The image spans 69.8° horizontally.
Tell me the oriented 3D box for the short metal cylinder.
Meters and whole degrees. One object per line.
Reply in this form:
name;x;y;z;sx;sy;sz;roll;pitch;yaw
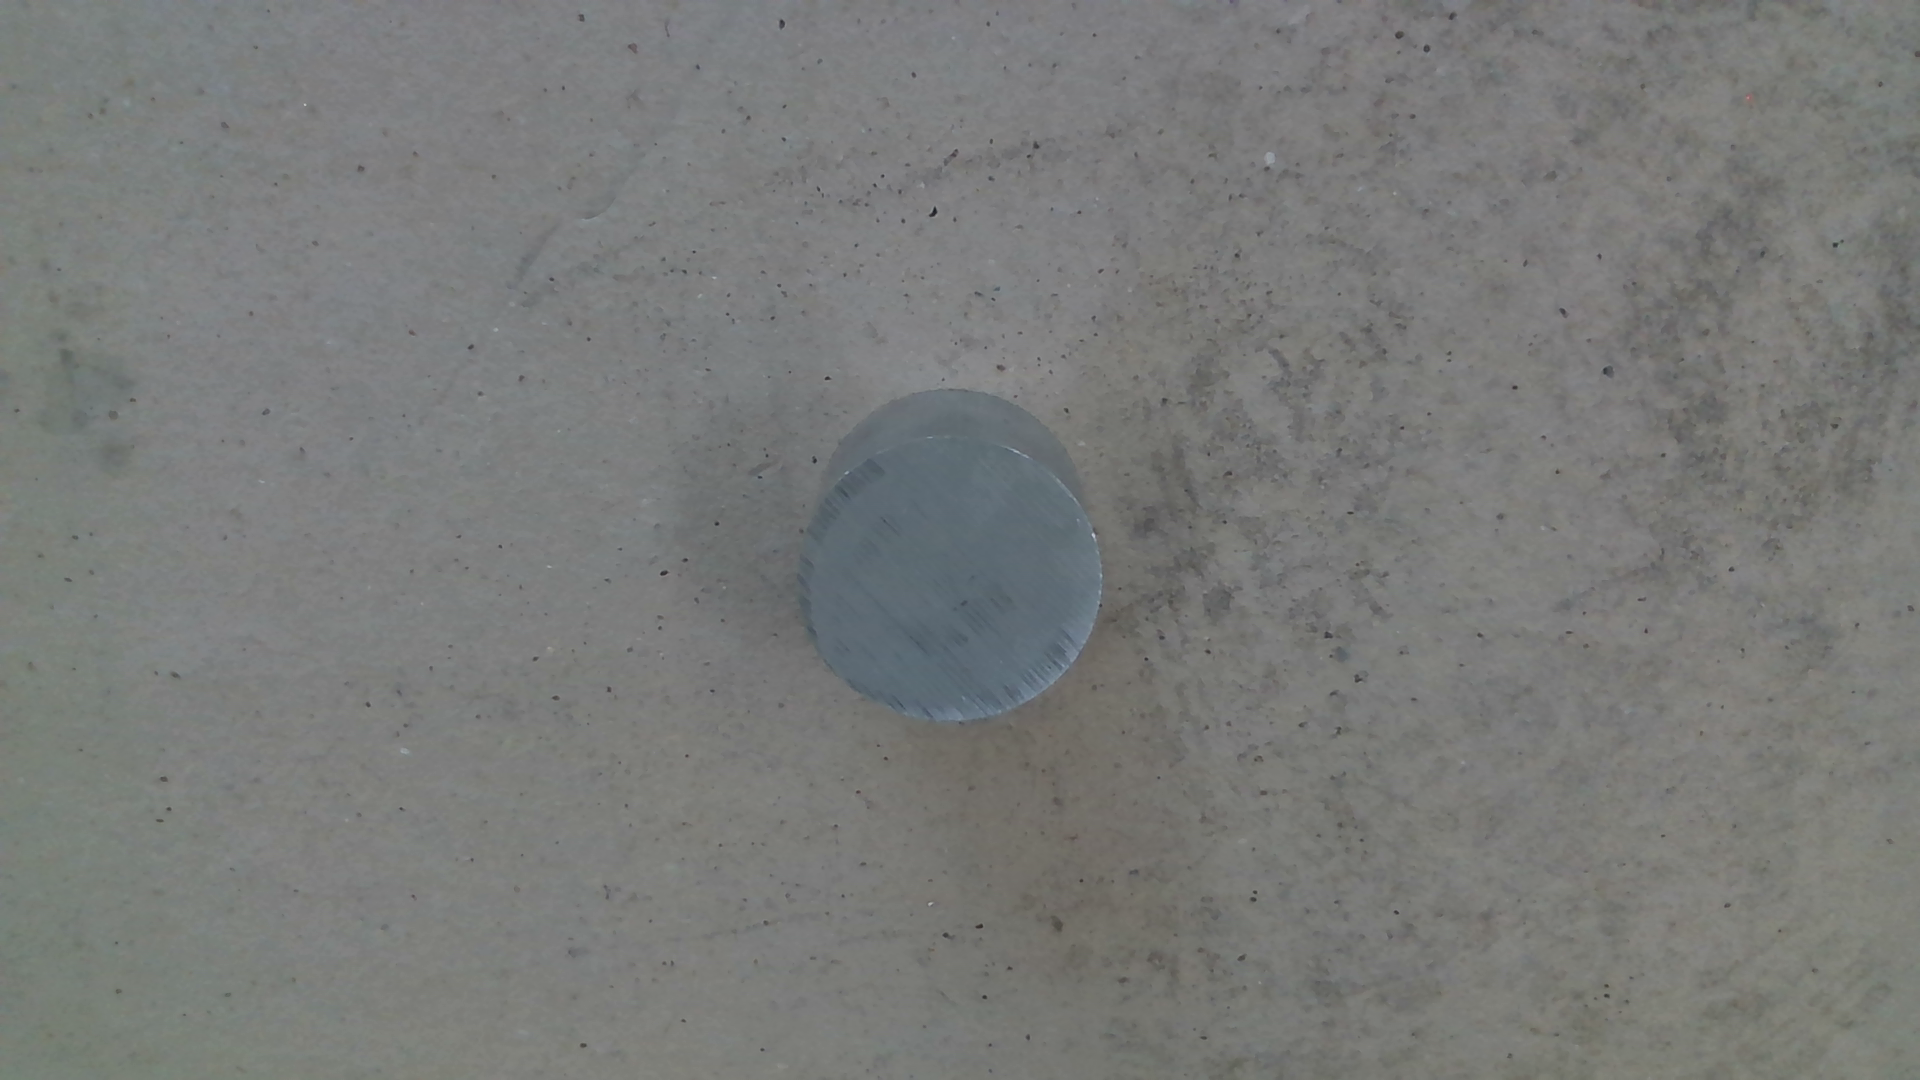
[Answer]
short metal cylinder;-0.003;0.002;0.381;0.080;0.050;0.080;0;111;0
